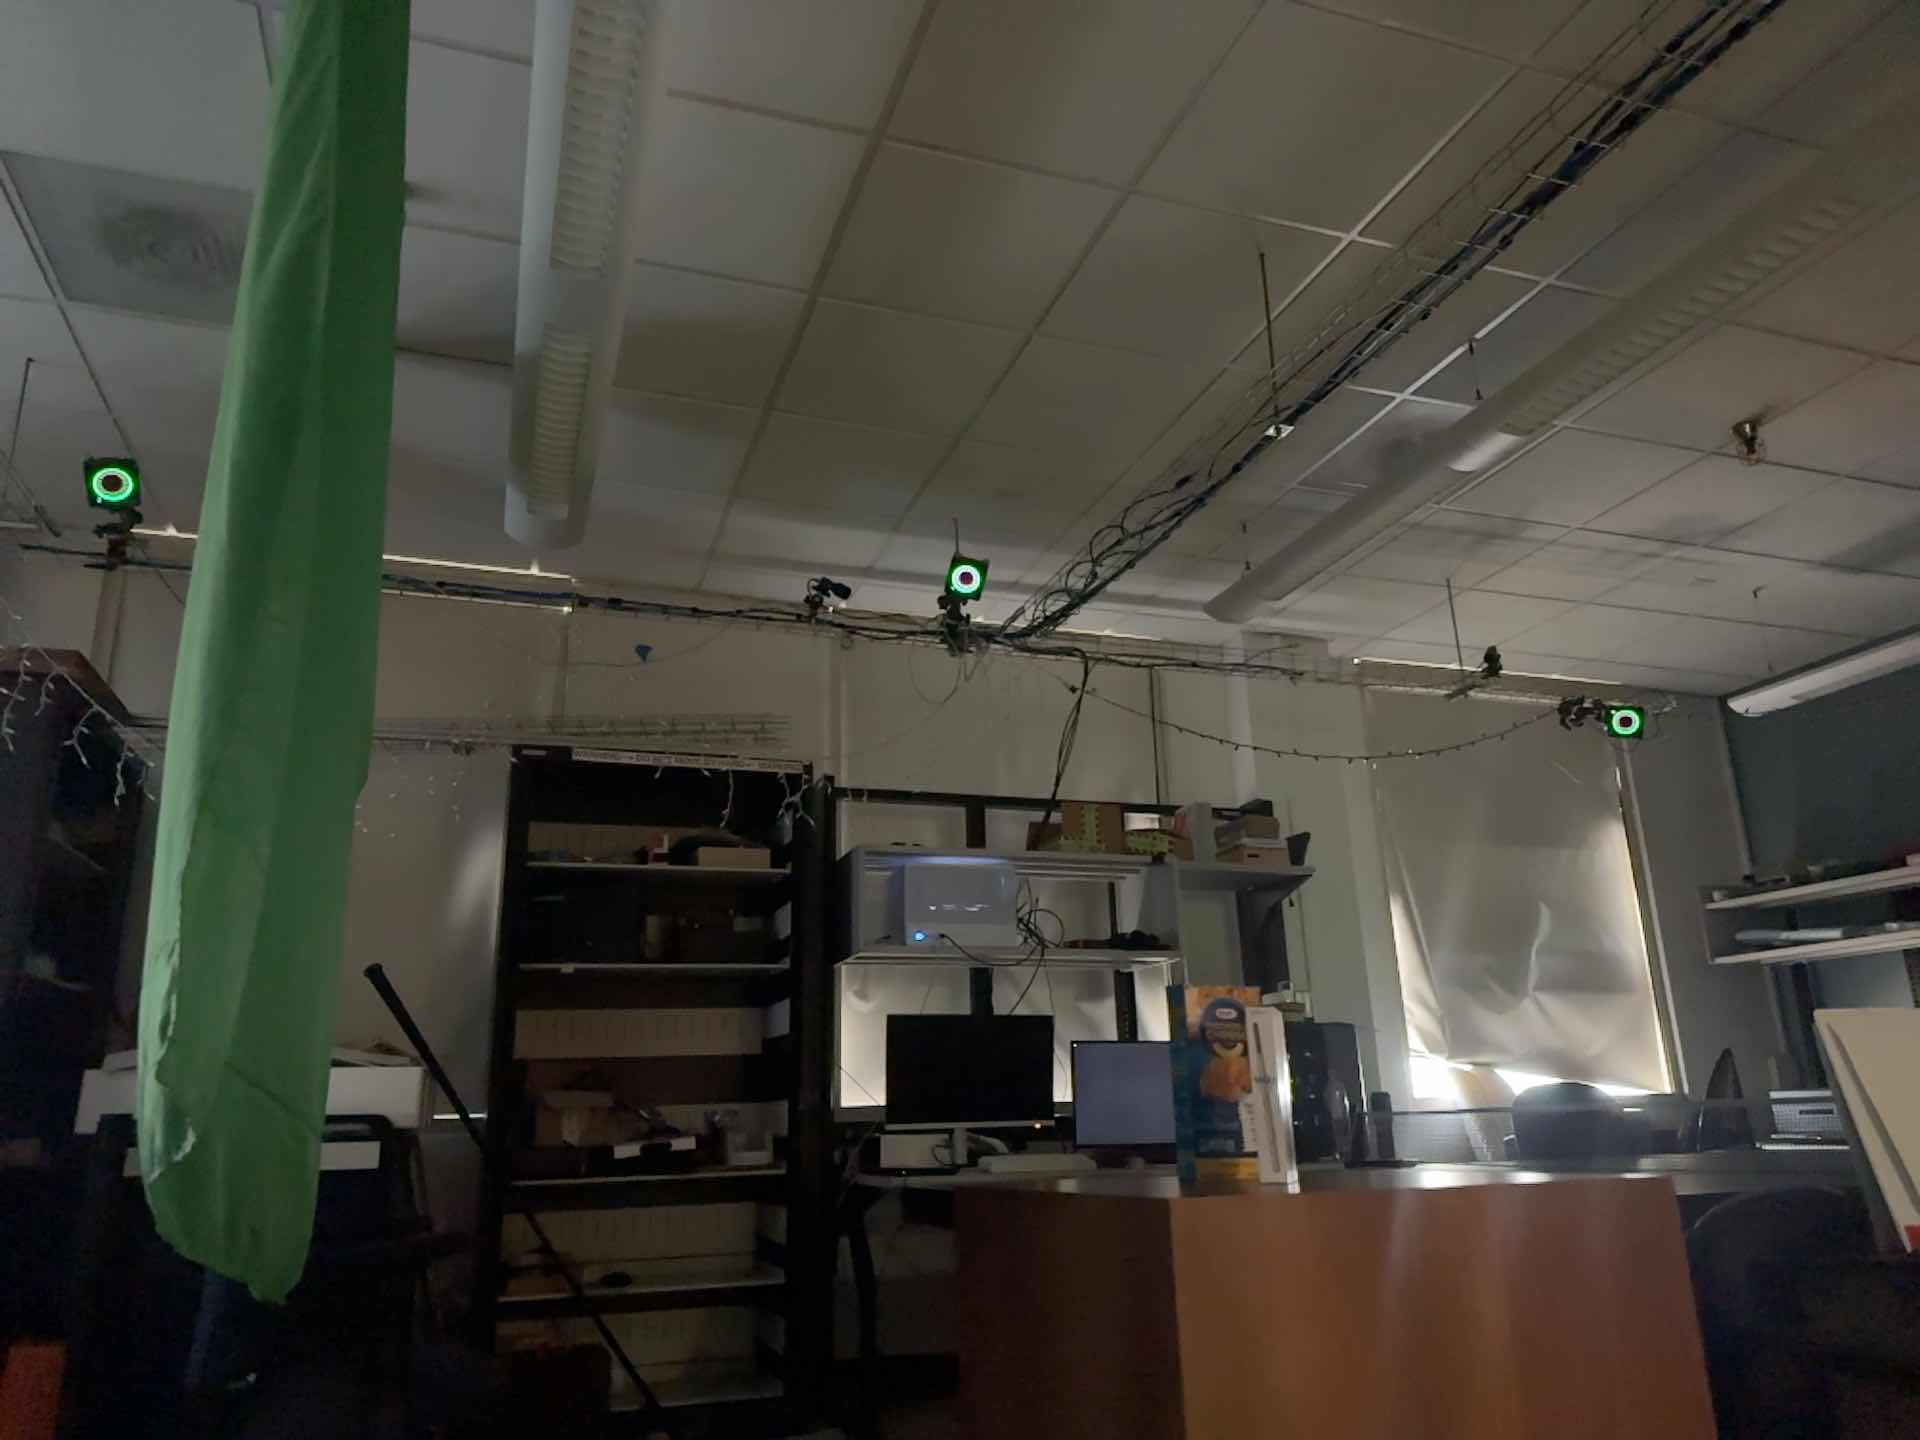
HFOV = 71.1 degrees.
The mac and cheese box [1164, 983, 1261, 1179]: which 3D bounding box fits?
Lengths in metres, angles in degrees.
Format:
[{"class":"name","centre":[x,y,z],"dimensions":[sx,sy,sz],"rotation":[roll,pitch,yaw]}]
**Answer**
[{"class":"mac and cheese box","centre":[0.255,0.356,1.333],"dimensions":[0.088,0.181,0.035],"rotation":[6,-19,-25]}]

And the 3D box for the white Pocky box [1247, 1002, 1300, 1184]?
[{"class":"white Pocky box","centre":[0.283,0.335,1.211],"dimensions":[0.028,0.154,0.084],"rotation":[-7,-17,19]}]
